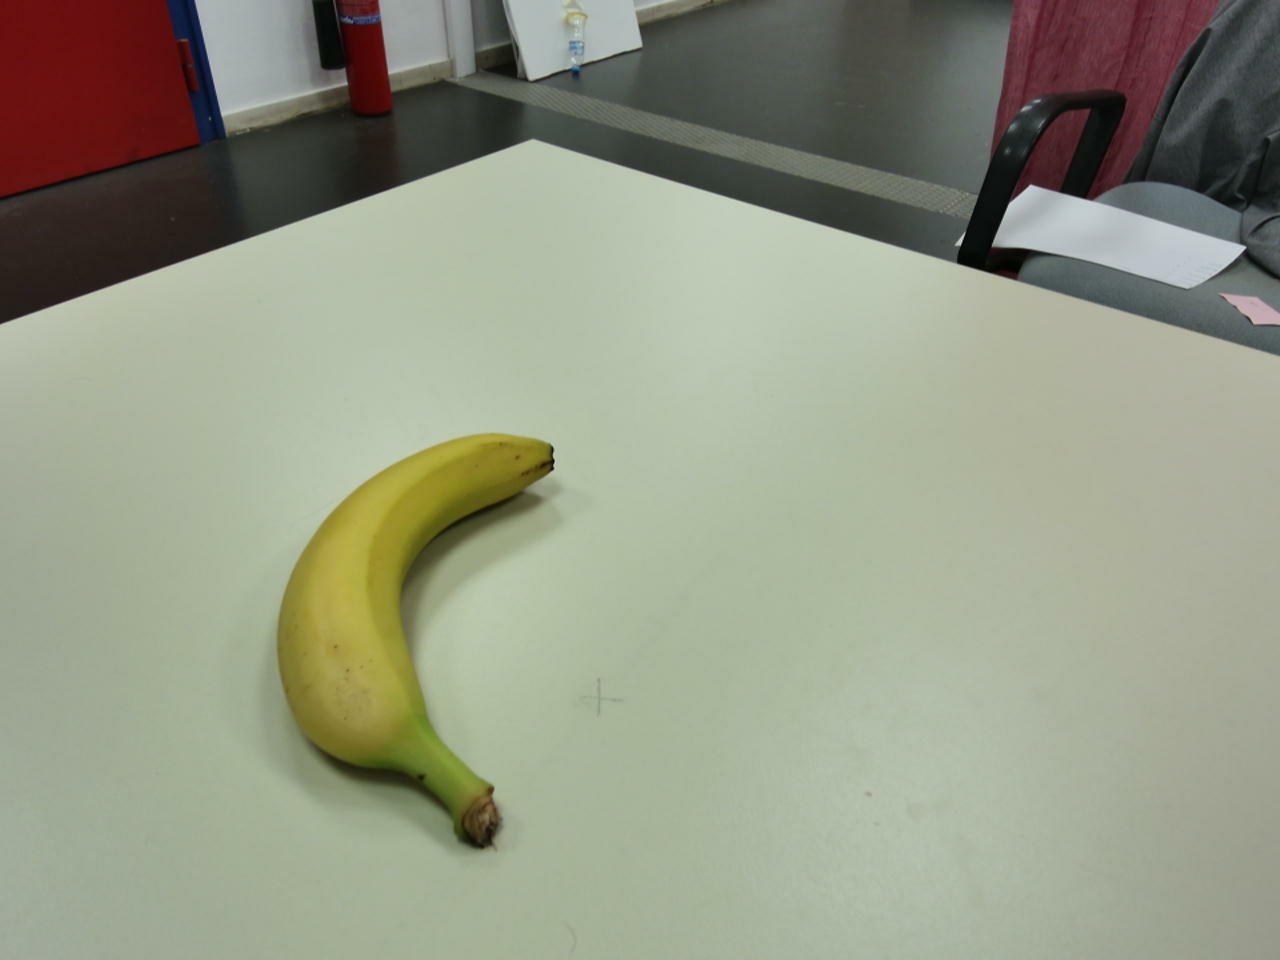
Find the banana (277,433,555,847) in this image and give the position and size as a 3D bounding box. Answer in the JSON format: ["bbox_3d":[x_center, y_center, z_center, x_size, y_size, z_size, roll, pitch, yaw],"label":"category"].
[{"bbox_3d":[-0.088,0.042,0.386,0.094,0.041,0.196,2,35,1],"label":"banana"}]
